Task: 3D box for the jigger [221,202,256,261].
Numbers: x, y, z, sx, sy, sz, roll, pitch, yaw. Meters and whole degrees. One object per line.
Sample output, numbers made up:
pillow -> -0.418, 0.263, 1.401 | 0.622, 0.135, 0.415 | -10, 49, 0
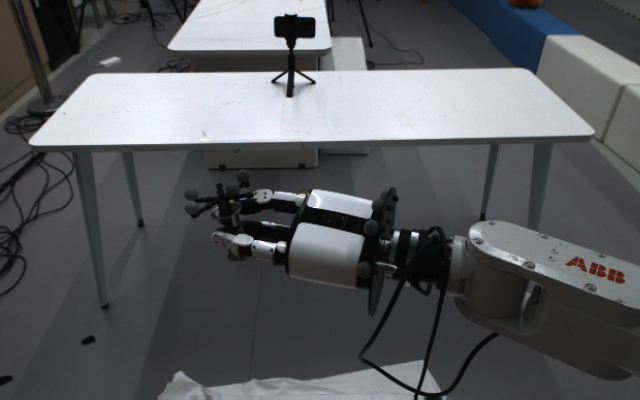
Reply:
jigger -> -0.109, 0.041, 0.632 | 0.043, 0.071, 0.043 | -12, 29, 7
